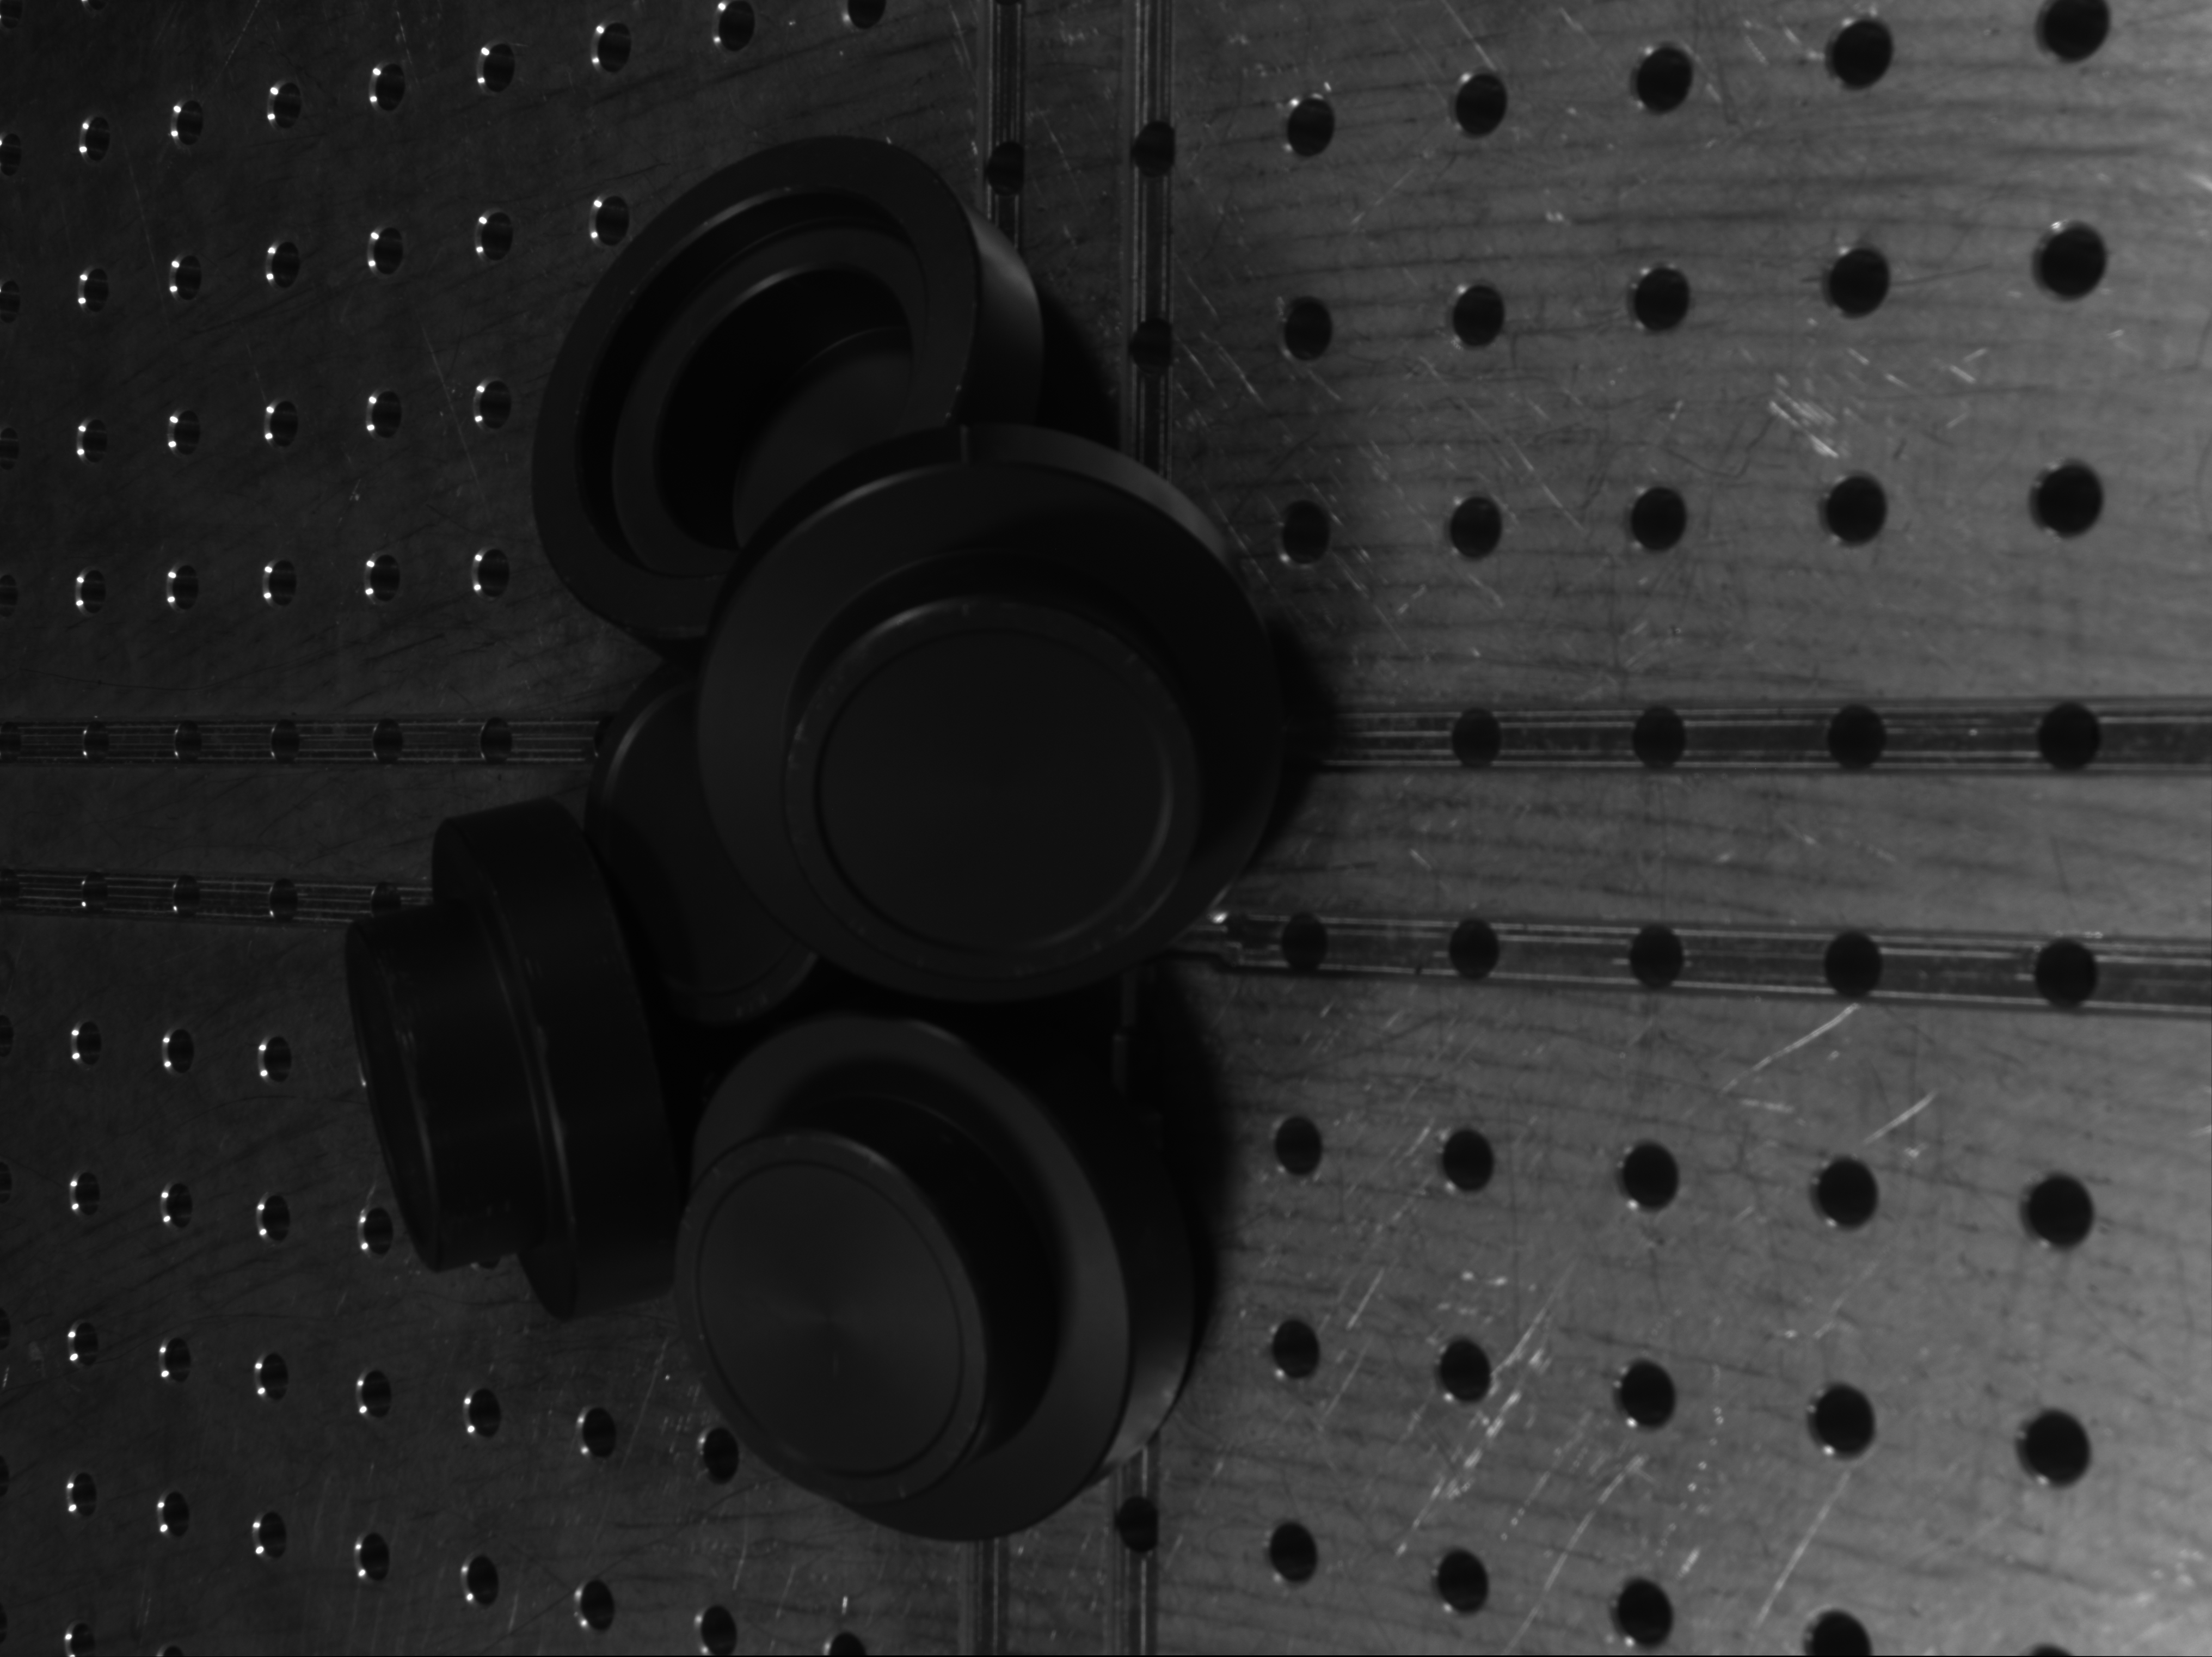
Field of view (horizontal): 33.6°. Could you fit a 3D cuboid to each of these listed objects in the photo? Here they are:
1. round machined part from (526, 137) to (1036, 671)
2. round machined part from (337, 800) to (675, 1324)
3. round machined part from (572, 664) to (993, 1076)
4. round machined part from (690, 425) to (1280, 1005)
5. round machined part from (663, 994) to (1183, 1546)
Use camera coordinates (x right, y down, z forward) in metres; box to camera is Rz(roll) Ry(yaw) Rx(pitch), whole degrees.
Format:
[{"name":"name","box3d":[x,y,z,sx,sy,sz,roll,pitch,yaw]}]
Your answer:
[{"name":"round machined part","box3d":[-0.053,-0.071,0.658,0.098,0.042,0.098,-14,61,28]},{"name":"round machined part","box3d":[-0.116,0.046,0.693,0.098,0.042,0.098,167,90,-70]},{"name":"round machined part","box3d":[-0.061,0.002,0.677,0.098,0.042,0.098,0,90,39]},{"name":"round machined part","box3d":[-0.020,-0.014,0.607,0.098,0.098,0.042,-63,15,20]},{"name":"round machined part","box3d":[-0.039,0.080,0.644,0.098,0.042,0.098,8,106,32]}]
